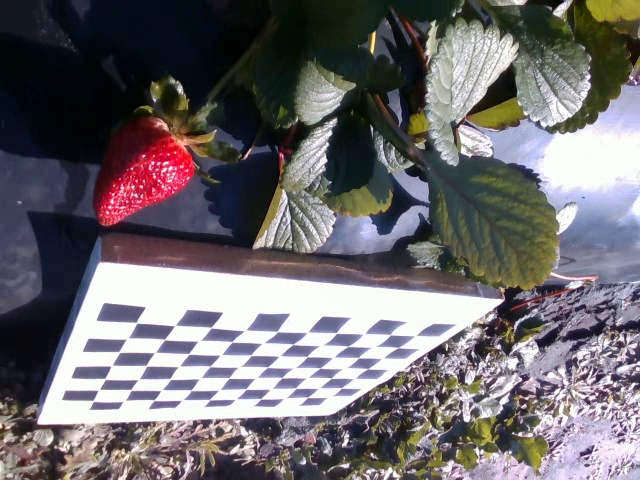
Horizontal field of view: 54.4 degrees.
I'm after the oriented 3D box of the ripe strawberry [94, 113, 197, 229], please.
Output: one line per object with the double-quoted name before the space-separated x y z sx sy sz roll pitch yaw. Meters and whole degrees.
"ripe strawberry" -0.087 -0.031 0.290 0.058 0.061 0.065 9 -20 24
